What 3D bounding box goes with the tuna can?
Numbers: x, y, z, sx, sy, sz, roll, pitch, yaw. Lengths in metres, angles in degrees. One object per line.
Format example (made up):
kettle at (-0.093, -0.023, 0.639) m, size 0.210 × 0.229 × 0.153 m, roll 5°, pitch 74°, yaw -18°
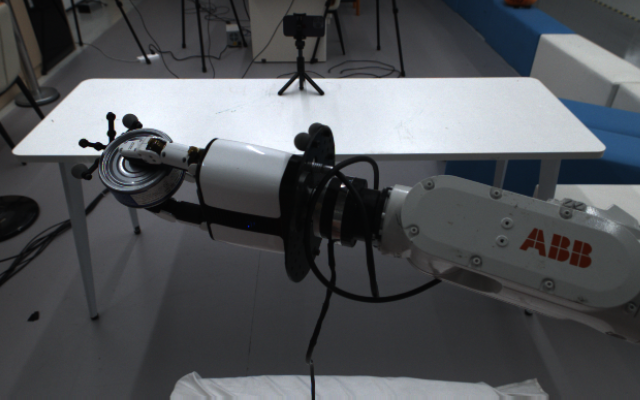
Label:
tuna can at (-0.191, -0.034, 0.525) m, size 0.085 × 0.034 × 0.085 m, roll -2°, pitch 61°, yaw 3°
